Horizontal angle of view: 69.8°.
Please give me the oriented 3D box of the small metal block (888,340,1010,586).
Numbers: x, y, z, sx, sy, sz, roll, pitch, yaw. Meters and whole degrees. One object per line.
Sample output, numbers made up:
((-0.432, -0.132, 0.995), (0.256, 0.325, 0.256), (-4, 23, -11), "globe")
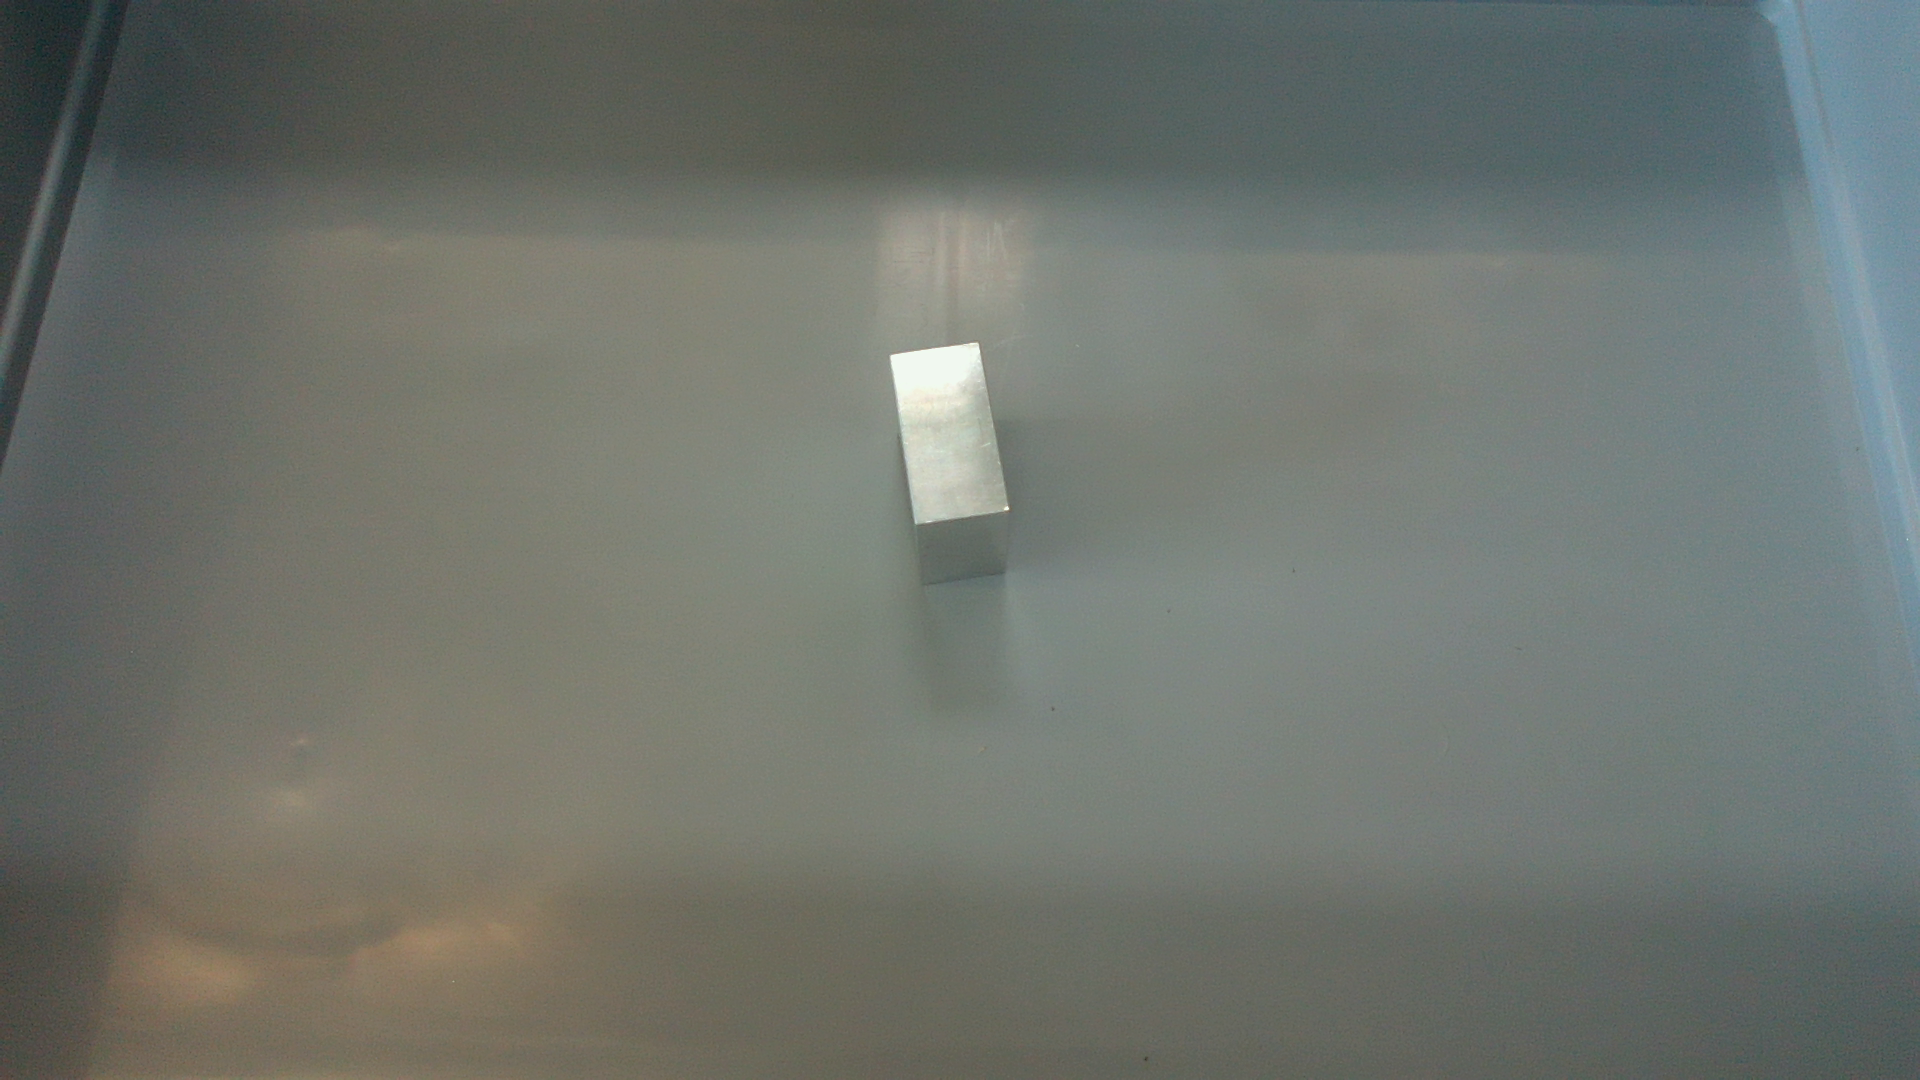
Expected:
((-0.003, -0.020, 0.385), (0.025, 0.050, 0.050), (-8, 69, -3), "small metal block")
